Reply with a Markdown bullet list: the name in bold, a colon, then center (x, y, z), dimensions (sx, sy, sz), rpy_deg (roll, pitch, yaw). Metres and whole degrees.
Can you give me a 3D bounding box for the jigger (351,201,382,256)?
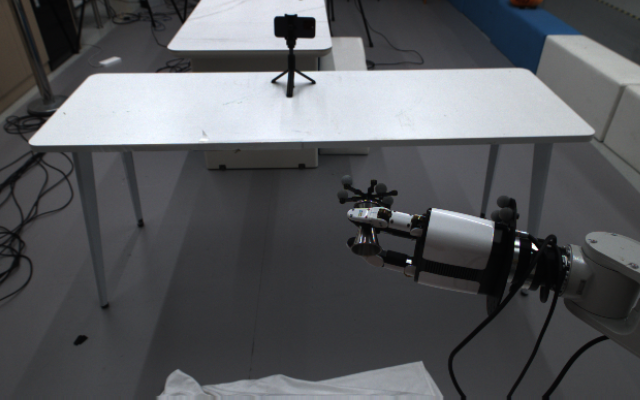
- **jigger**: center (0.065, 0.037, 0.681), dimensions (0.043, 0.043, 0.071), rpy_deg (4, 60, 2)
